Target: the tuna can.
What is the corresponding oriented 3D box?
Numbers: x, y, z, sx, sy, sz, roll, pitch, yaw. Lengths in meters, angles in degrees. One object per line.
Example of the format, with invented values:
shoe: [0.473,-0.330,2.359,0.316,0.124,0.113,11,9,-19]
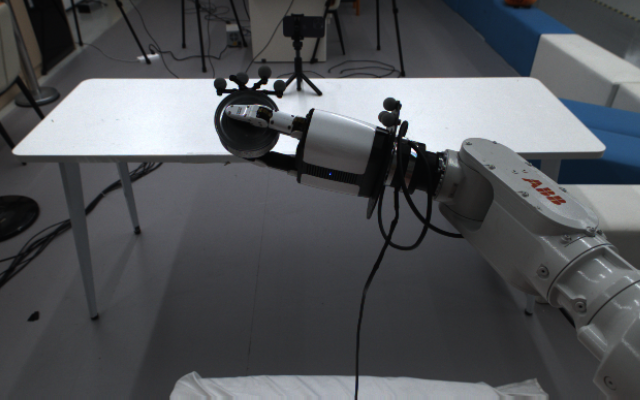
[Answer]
tuna can: [-0.092,-0.100,0.637,0.085,0.034,0.085,1,71,-4]
